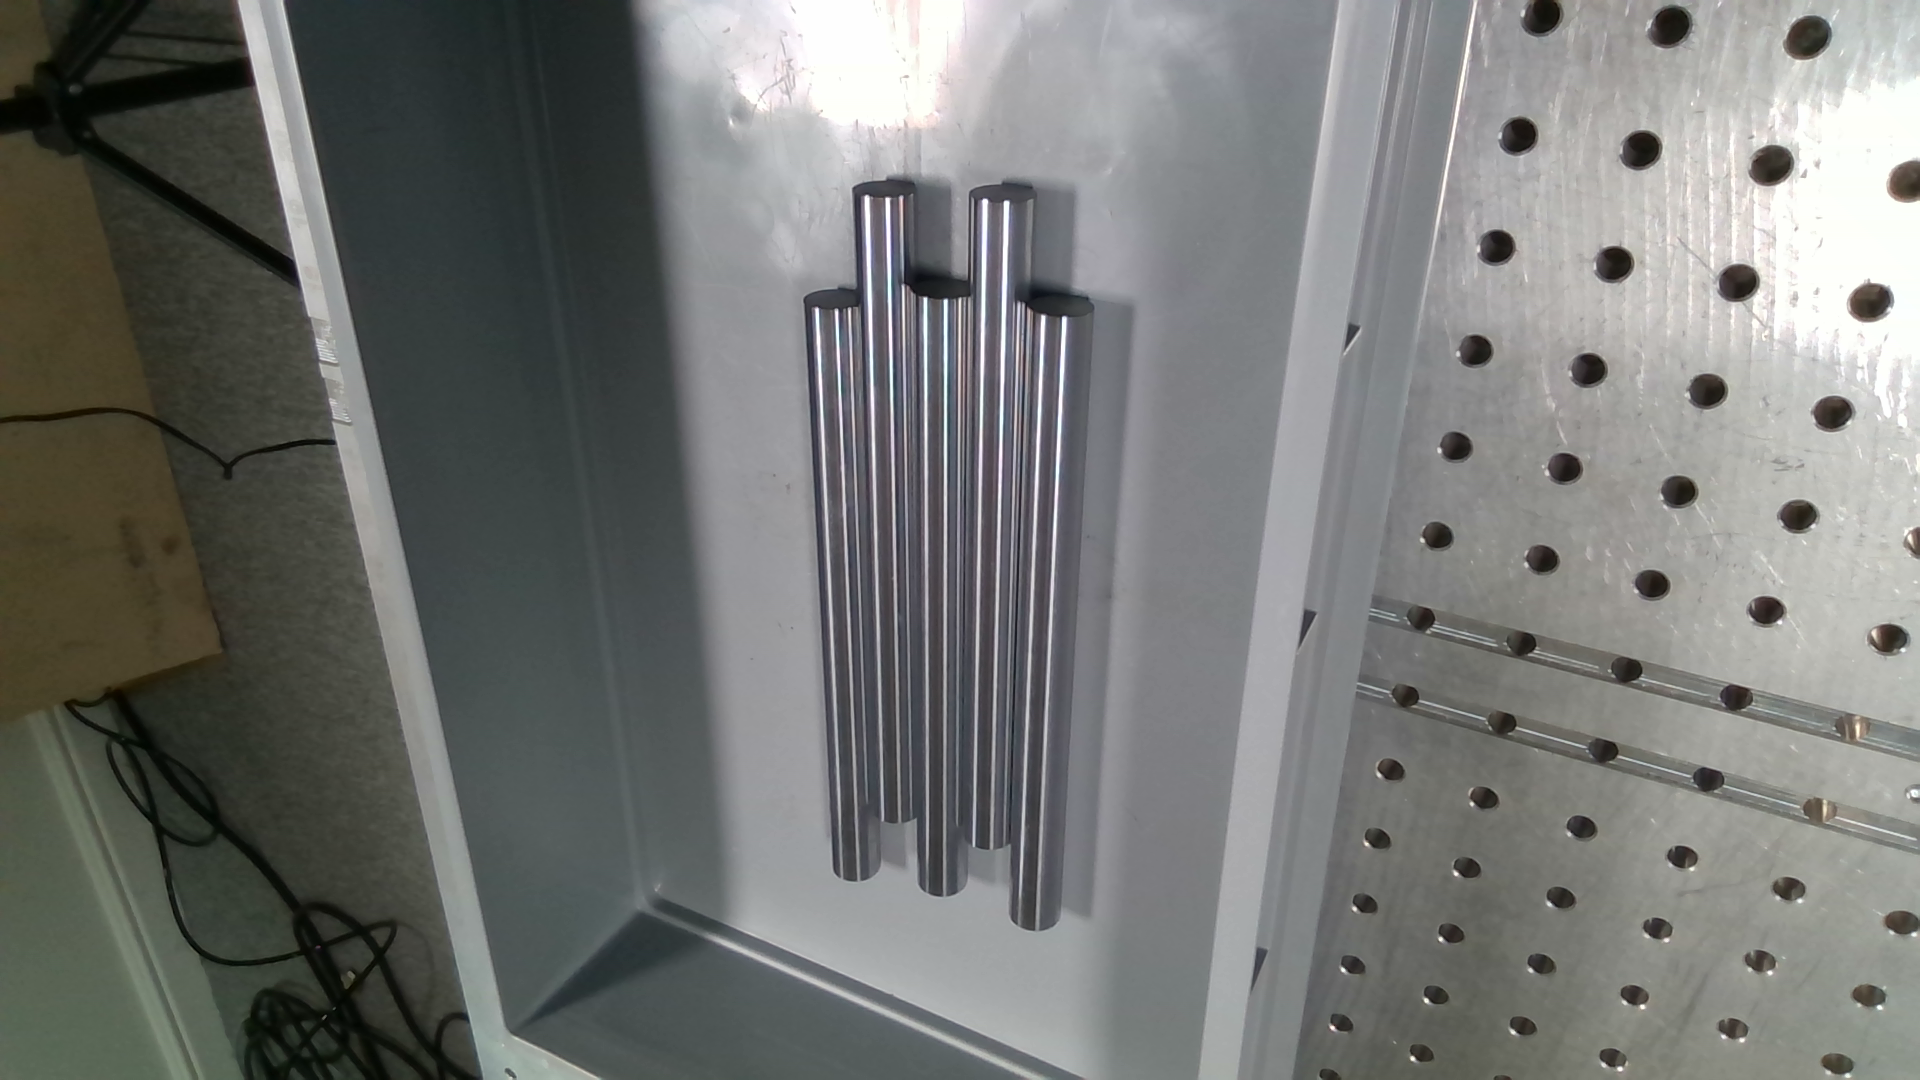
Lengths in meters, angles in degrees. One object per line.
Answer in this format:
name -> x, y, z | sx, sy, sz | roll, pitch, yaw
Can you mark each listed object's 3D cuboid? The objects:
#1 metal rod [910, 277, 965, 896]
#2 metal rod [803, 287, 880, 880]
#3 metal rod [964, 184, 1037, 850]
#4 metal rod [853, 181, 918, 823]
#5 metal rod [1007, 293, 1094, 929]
metal rod -> -0.008, 0.034, 0.602 | 0.025, 0.025, 0.301 | 15, 122, 24
metal rod -> -0.052, 0.033, 0.629 | 0.025, 0.025, 0.301 | 15, 122, 24
metal rod -> 0.014, 0.005, 0.573 | 0.025, 0.025, 0.301 | 15, 122, 24
metal rod -> -0.029, -0.002, 0.596 | 0.025, 0.025, 0.301 | 15, 122, 24
metal rod -> 0.036, 0.044, 0.581 | 0.025, 0.025, 0.301 | 15, 122, 24
